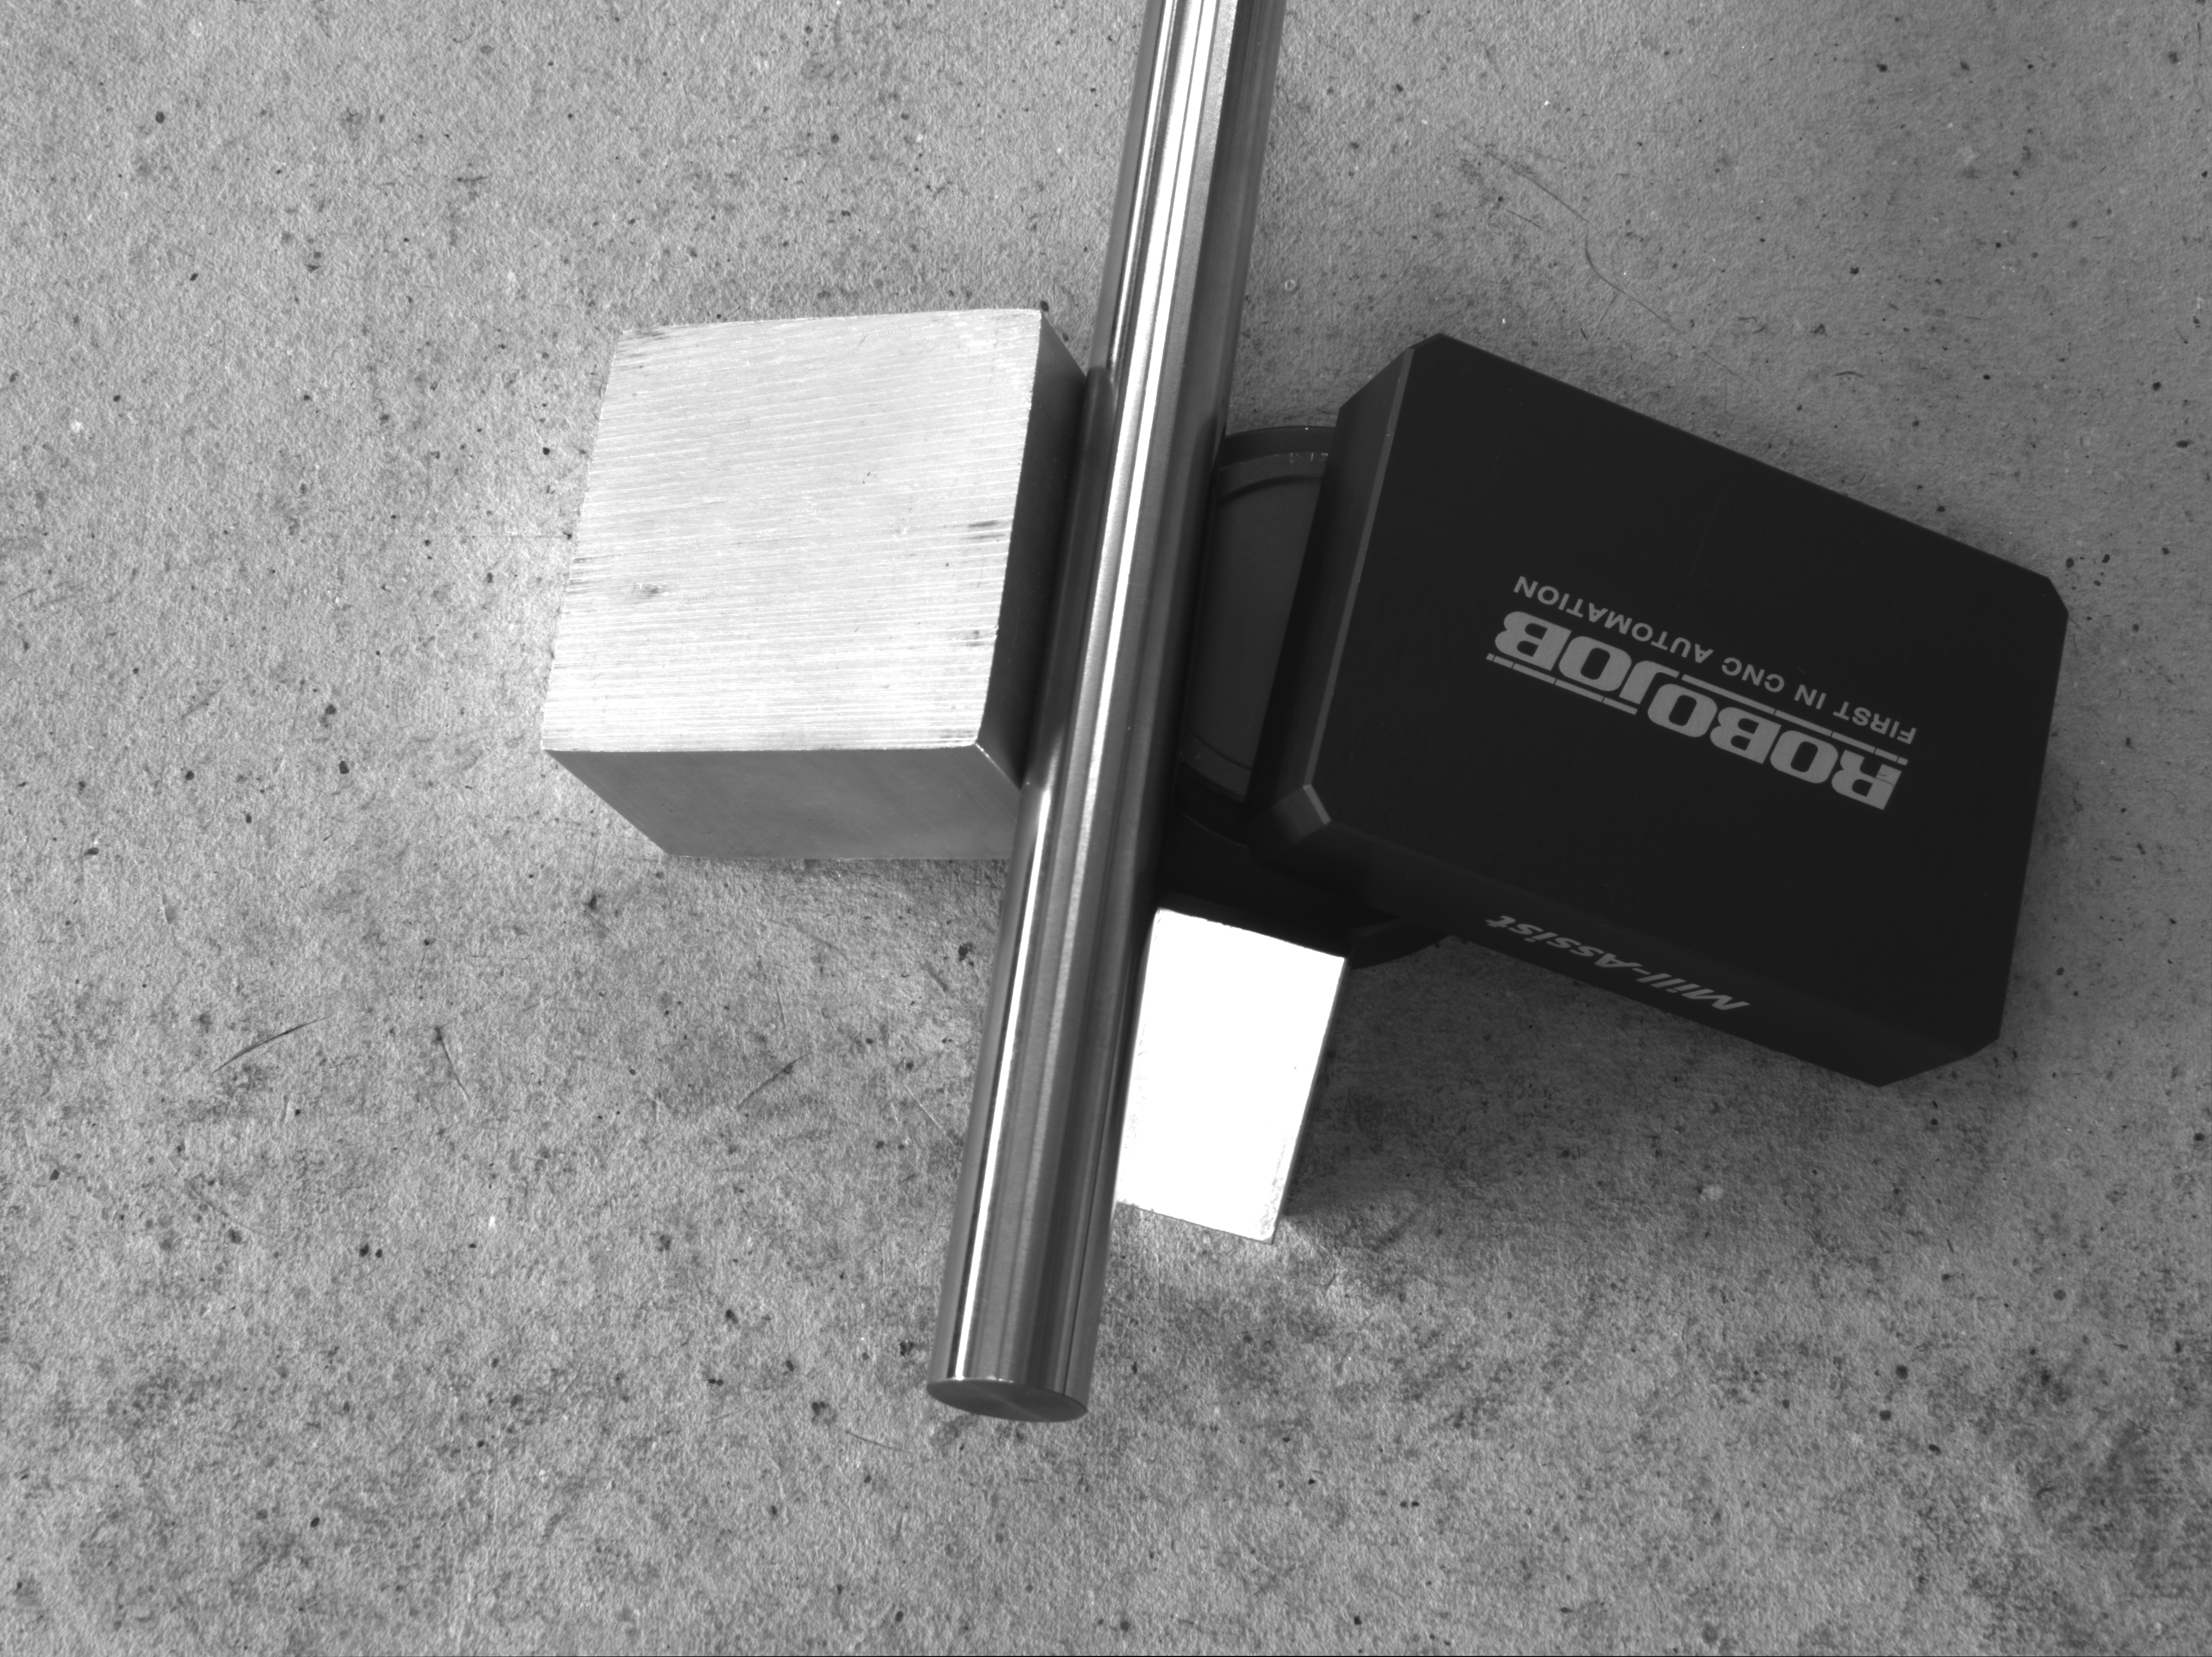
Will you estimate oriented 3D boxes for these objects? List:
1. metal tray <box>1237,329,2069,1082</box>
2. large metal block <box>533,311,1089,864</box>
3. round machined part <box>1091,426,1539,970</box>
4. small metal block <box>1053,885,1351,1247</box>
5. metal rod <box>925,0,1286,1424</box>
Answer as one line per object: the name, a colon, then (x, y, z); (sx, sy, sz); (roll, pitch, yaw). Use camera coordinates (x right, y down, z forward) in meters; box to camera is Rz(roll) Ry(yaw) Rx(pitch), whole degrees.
metal tray: (0.095, -0.020, 0.626); (0.130, 0.030, 0.090); (19, 71, -15)
large metal block: (-0.045, -0.040, 0.636); (0.080, 0.050, 0.080); (0, 69, 20)
round machined part: (0.036, -0.027, 0.646); (0.098, 0.042, 0.098); (0, 70, 0)
small metal block: (0.011, 0.038, 0.621); (0.050, 0.025, 0.050); (15, 96, 6)
metal rod: (0.005, -0.050, 0.619); (0.025, 0.025, 0.300); (7, 68, 3)
